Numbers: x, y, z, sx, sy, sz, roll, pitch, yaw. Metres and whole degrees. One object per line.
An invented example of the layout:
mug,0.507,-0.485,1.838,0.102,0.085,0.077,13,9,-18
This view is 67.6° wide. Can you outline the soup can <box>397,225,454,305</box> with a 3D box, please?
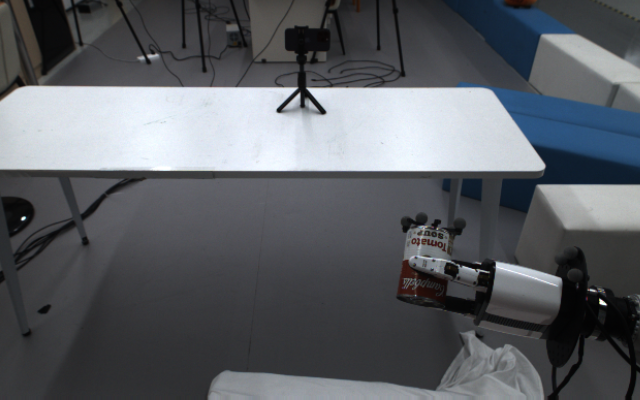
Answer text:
soup can,0.150,0.092,0.681,0.067,0.067,0.101,9,72,10
